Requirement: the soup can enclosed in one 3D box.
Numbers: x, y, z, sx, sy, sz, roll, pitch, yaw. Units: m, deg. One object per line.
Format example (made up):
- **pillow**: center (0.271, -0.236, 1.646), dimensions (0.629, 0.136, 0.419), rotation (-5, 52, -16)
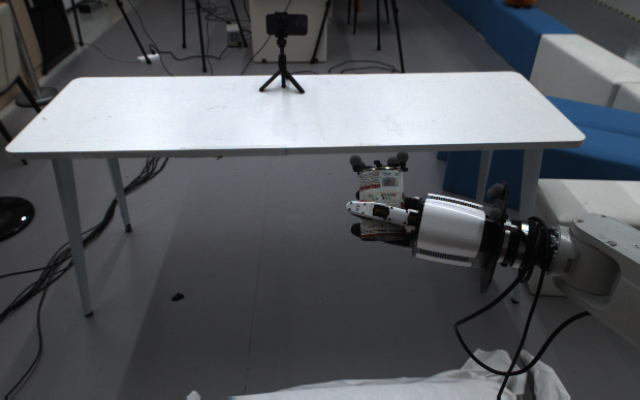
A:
- **soup can**: center (0.092, 0.007, 0.710), dimensions (0.067, 0.101, 0.067), rotation (-1, -9, 0)
